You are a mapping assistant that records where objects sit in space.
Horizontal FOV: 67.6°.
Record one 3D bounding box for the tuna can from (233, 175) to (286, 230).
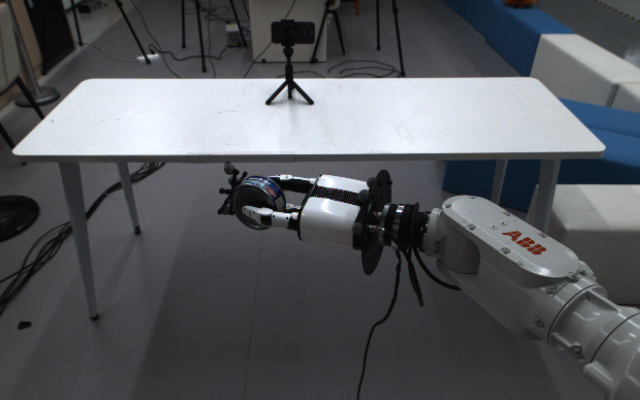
[{"bbox_3d":[-0.098,0.003,0.780,0.085,0.085,0.034,14,31,16],"label":"tuna can"}]
